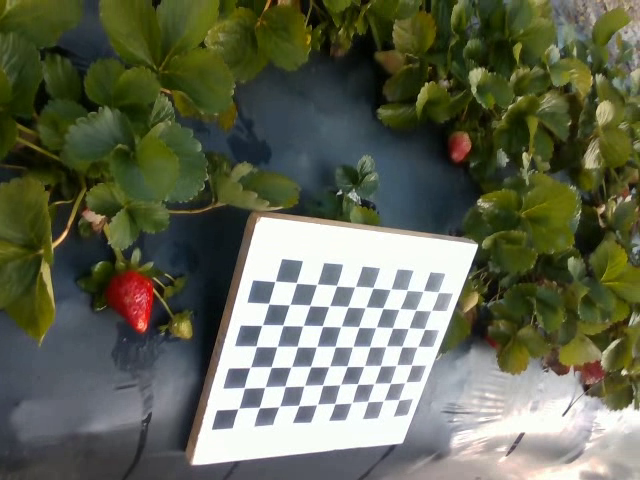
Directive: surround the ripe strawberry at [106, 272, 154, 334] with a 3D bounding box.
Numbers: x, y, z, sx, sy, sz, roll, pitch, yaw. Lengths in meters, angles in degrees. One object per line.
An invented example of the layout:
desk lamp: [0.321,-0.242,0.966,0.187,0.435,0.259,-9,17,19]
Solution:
ripe strawberry: [-0.164,0.058,0.533,0.043,0.057,0.052,-17,-32,-17]
